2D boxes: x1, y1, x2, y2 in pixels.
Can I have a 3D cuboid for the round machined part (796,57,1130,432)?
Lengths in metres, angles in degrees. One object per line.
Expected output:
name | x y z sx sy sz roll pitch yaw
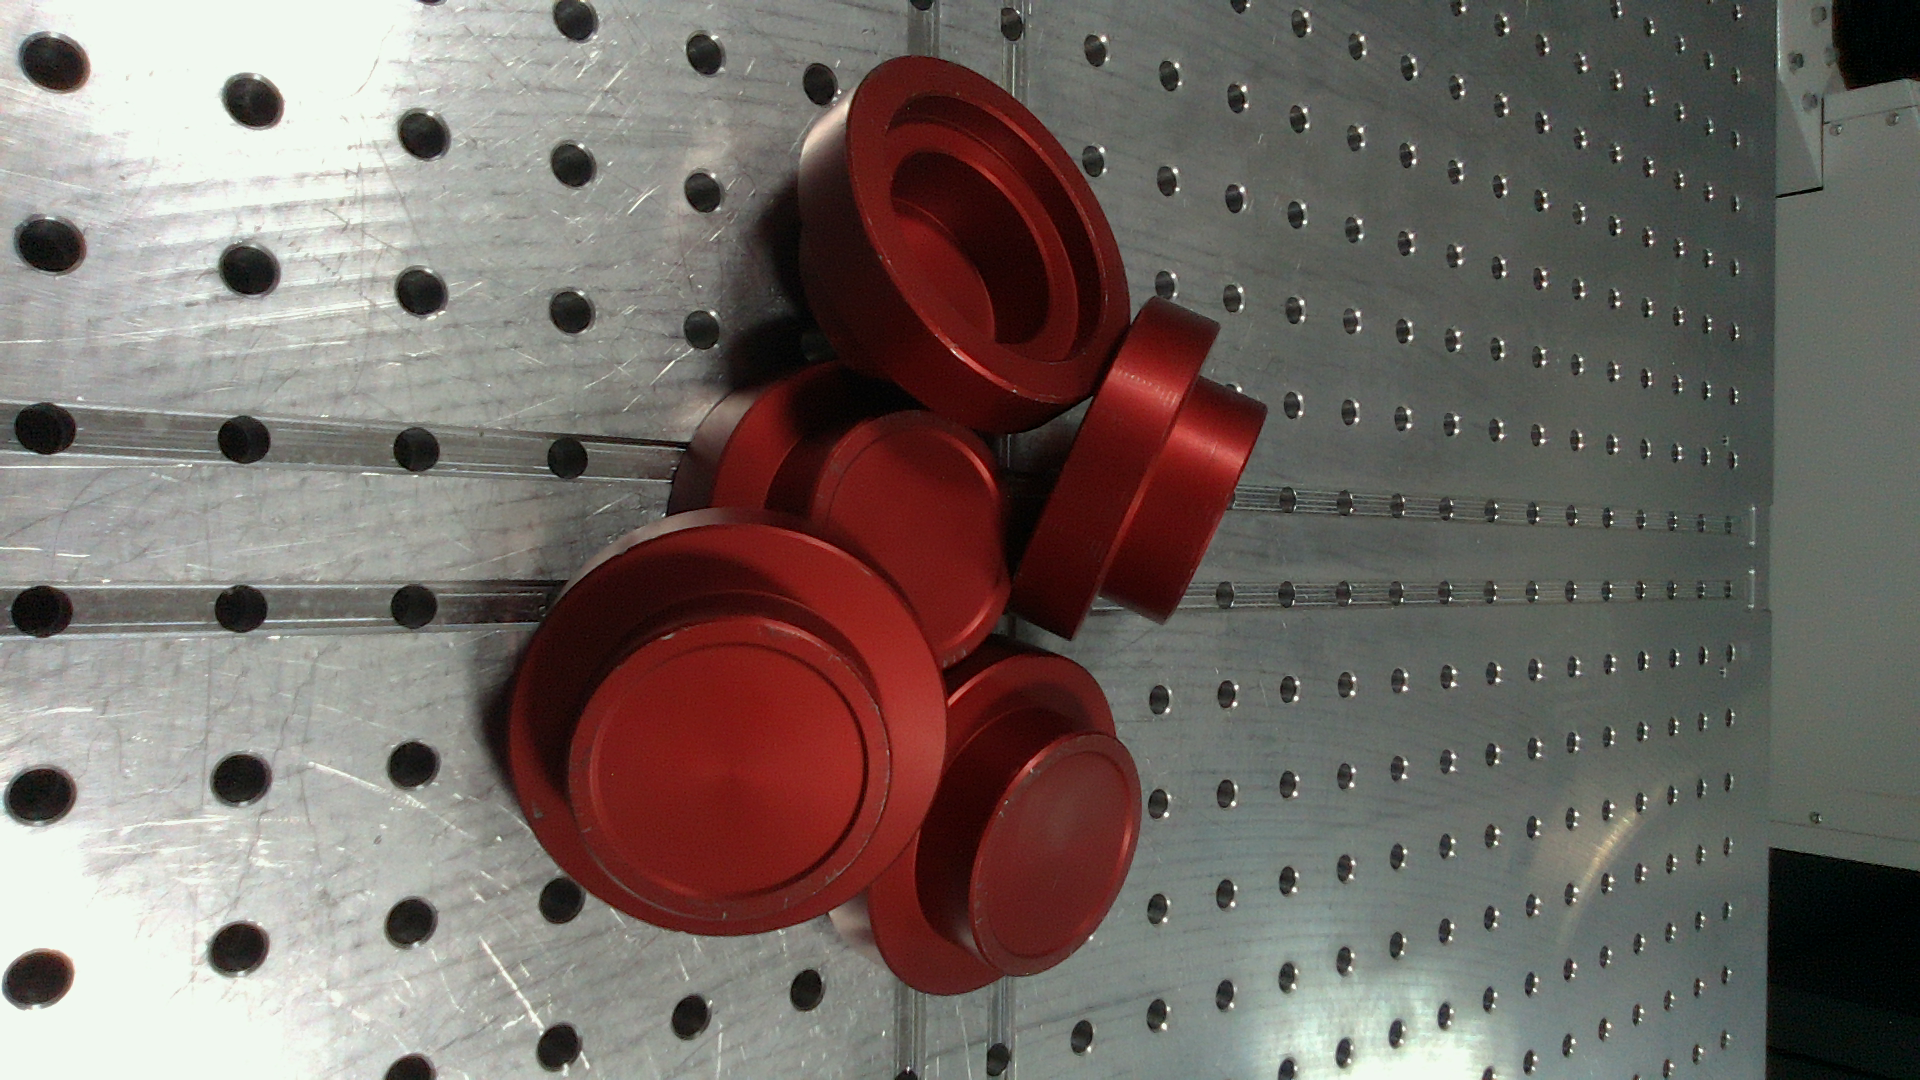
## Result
round machined part | -0.004 -0.073 0.363 0.098 0.042 0.098 23 54 -35

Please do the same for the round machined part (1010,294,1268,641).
round machined part | 0.053 -0.016 0.387 0.042 0.098 0.098 25 69 6

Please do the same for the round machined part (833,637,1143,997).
round machined part | 0.013 0.078 0.375 0.098 0.042 0.098 -15 112 -42

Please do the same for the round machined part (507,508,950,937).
round machined part | -0.051 0.045 0.308 0.098 0.042 0.098 -2 103 -9

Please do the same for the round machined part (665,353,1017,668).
round machined part | -0.024 0.000 0.360 0.098 0.042 0.098 0 90 -40
